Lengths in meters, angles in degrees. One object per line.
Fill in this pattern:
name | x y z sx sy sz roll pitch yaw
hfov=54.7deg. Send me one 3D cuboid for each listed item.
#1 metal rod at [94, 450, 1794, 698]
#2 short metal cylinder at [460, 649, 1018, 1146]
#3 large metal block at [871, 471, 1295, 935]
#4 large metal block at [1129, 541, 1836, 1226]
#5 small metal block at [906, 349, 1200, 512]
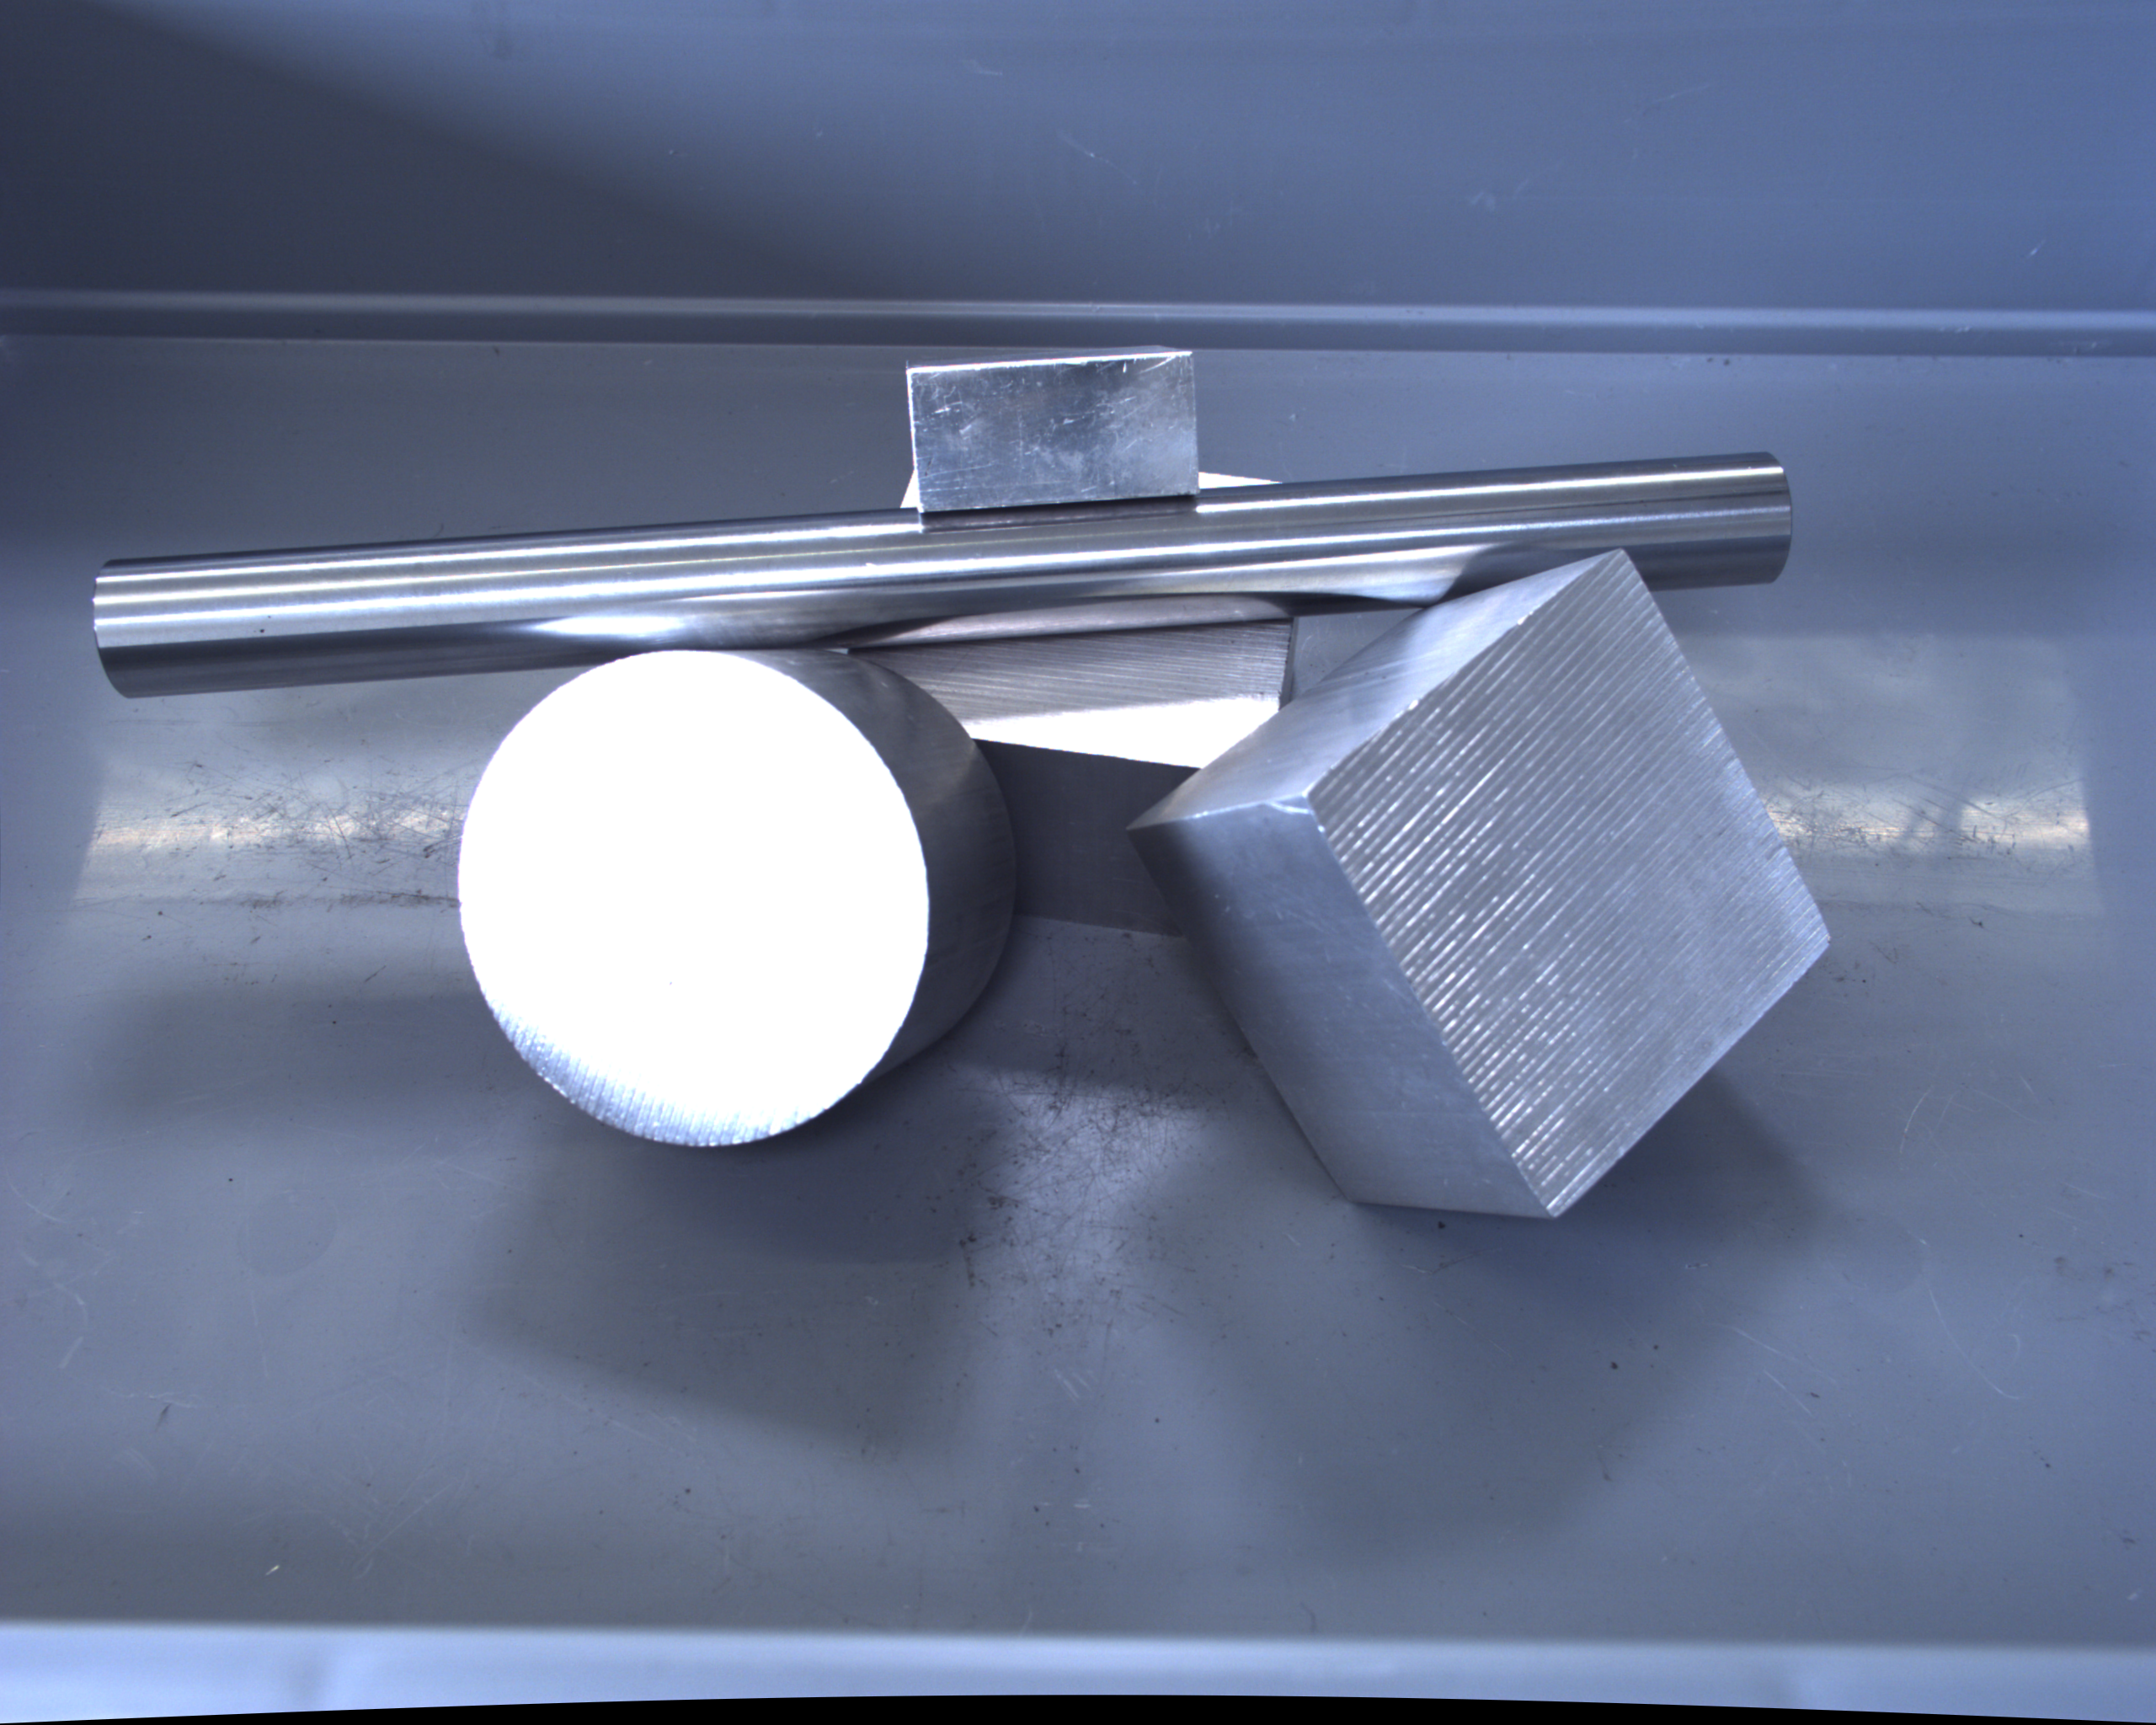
metal rod | -0.020 -0.053 0.383 0.302 0.025 0.025 -4 50 -4
short metal cylinder | -0.056 0.004 0.356 0.080 0.079 0.050 15 9 12
large metal block | 0.001 -0.036 0.416 0.080 0.050 0.080 8 51 7
large metal block | 0.070 0.004 0.356 0.080 0.050 0.080 -38 103 -27
small metal block | -0.006 -0.083 0.392 0.050 0.025 0.050 -5 15 -4
